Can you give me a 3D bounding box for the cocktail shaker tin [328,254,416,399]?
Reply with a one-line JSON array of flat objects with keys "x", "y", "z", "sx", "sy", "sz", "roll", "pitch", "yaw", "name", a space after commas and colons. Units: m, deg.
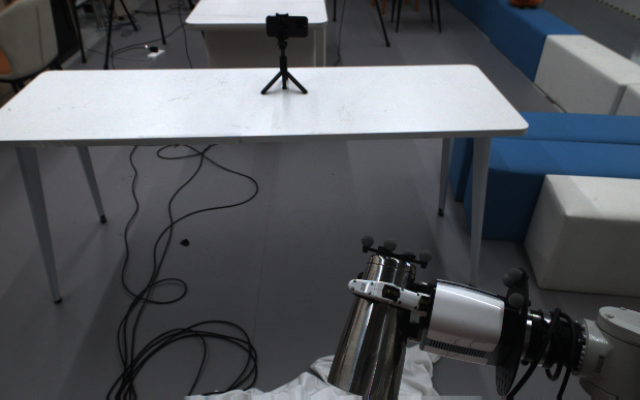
[{"x": 0.079, "y": 0.161, "z": 0.634, "sx": 0.093, "sy": 0.093, "sz": 0.170, "roll": 12, "pitch": 77, "yaw": 14, "name": "cocktail shaker tin"}]
